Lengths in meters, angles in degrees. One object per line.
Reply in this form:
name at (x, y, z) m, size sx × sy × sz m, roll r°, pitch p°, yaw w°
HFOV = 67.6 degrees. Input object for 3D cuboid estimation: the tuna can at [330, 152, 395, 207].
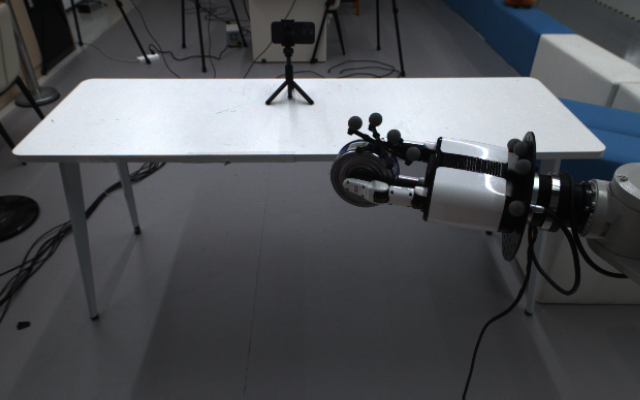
tuna can at (0.061, -0.027, 0.623) m, size 0.085 × 0.085 × 0.034 m, roll 12°, pitch 35°, yaw 14°
